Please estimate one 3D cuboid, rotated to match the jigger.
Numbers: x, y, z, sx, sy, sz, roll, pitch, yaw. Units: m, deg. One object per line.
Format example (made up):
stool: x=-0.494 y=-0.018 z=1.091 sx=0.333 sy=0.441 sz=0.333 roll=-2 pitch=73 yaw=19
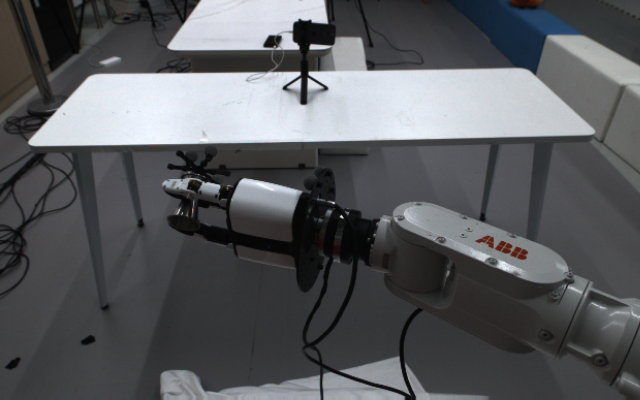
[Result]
jigger: x=-0.179 y=0.001 z=0.653 sx=0.043 sy=0.043 sz=0.071 roll=6 pitch=61 yaw=6
